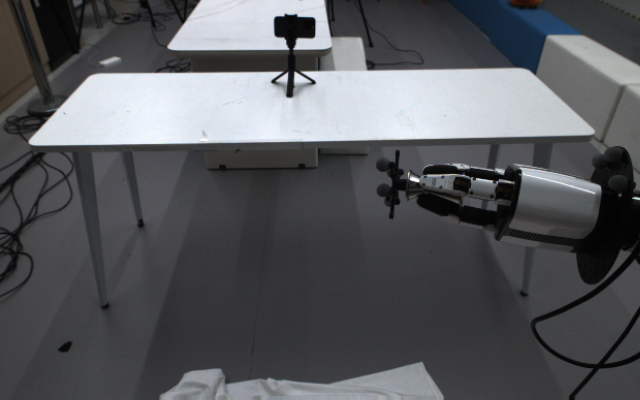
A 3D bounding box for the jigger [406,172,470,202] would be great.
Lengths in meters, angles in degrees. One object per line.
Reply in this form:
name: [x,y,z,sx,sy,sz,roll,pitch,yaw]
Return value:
jigger: [0.152,-0.021,0.609,0.071,0.043,0.043,4,34,18]
